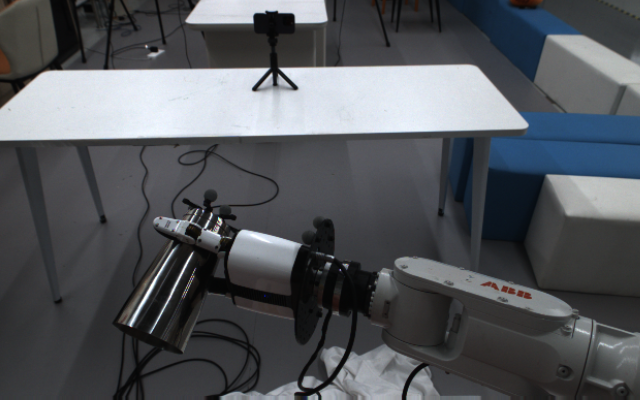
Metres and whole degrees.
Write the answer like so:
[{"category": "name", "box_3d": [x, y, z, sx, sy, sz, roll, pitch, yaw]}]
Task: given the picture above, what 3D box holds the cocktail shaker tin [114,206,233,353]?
[{"category": "cocktail shaker tin", "box_3d": [-0.179, 0.100, 0.624, 0.093, 0.093, 0.170, 13, 60, 15]}]
